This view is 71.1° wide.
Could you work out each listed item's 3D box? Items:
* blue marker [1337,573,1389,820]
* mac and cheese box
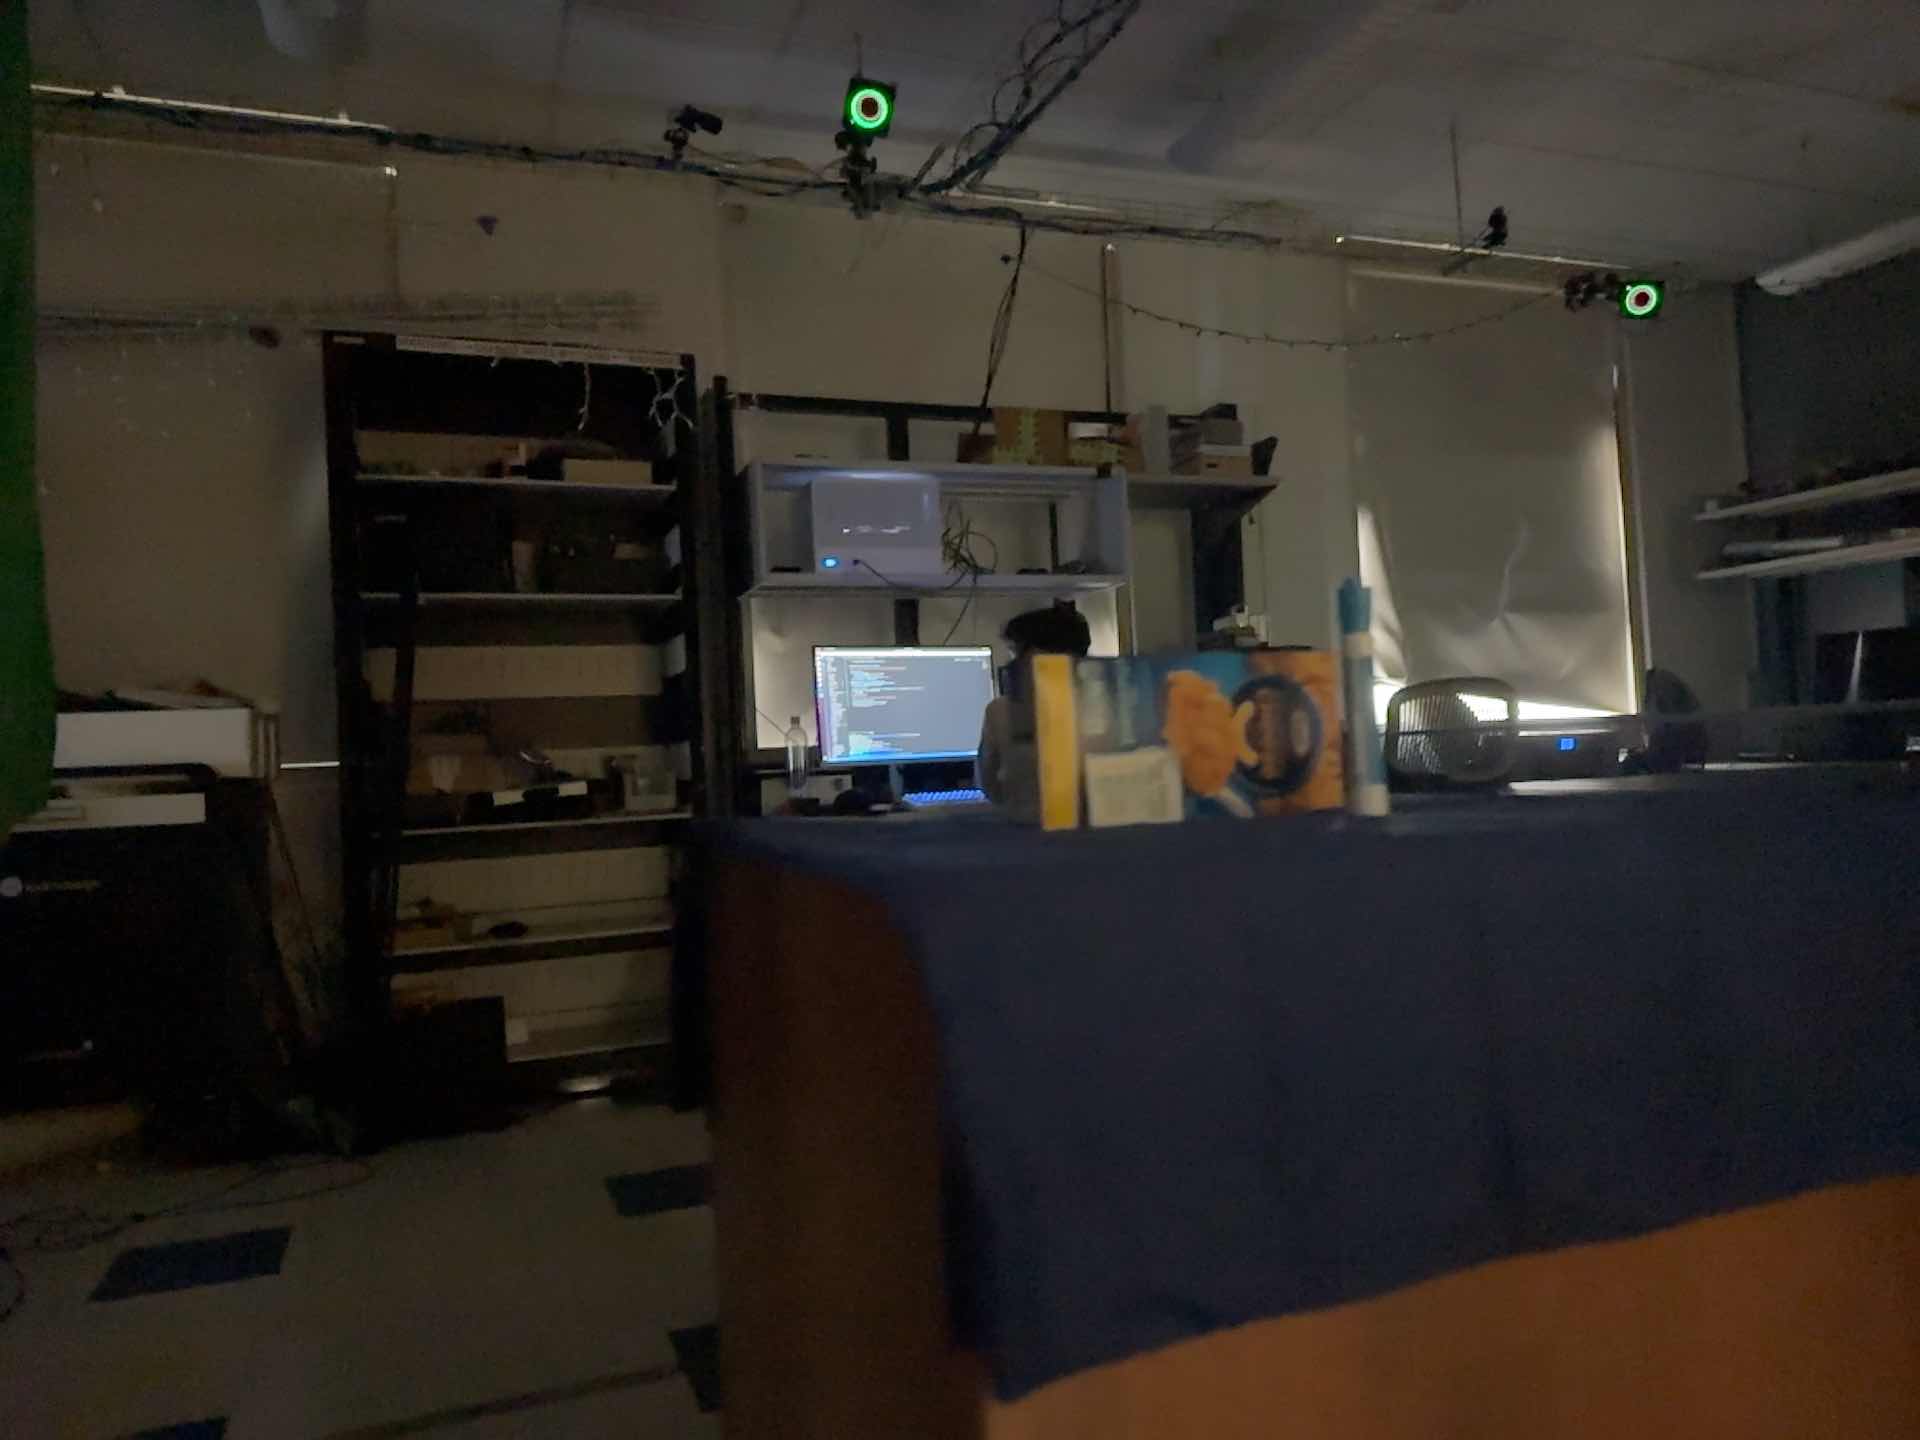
[{"bbox_3d":[0.198,-0.012,0.662,0.020,0.121,0.020,-2,-3,0],"label":"blue marker"},{"bbox_3d":[0.112,0.008,0.700,0.181,0.088,0.035,-2,-3,-23],"label":"mac and cheese box"}]
